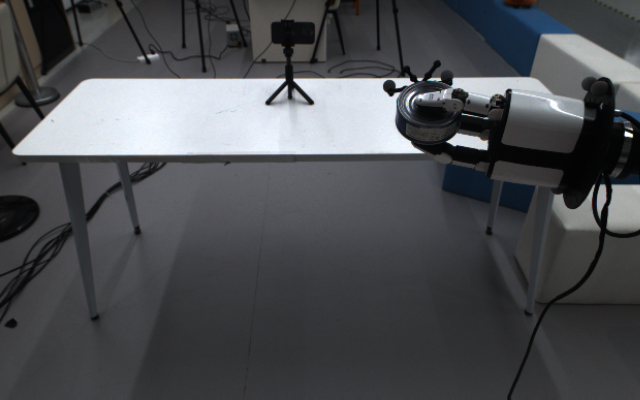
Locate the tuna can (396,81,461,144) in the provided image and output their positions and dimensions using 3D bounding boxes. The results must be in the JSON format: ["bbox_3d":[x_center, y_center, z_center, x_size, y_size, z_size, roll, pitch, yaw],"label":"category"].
[{"bbox_3d":[0.144,-0.117,0.635,0.085,0.034,0.085,-3,59,5],"label":"tuna can"}]
